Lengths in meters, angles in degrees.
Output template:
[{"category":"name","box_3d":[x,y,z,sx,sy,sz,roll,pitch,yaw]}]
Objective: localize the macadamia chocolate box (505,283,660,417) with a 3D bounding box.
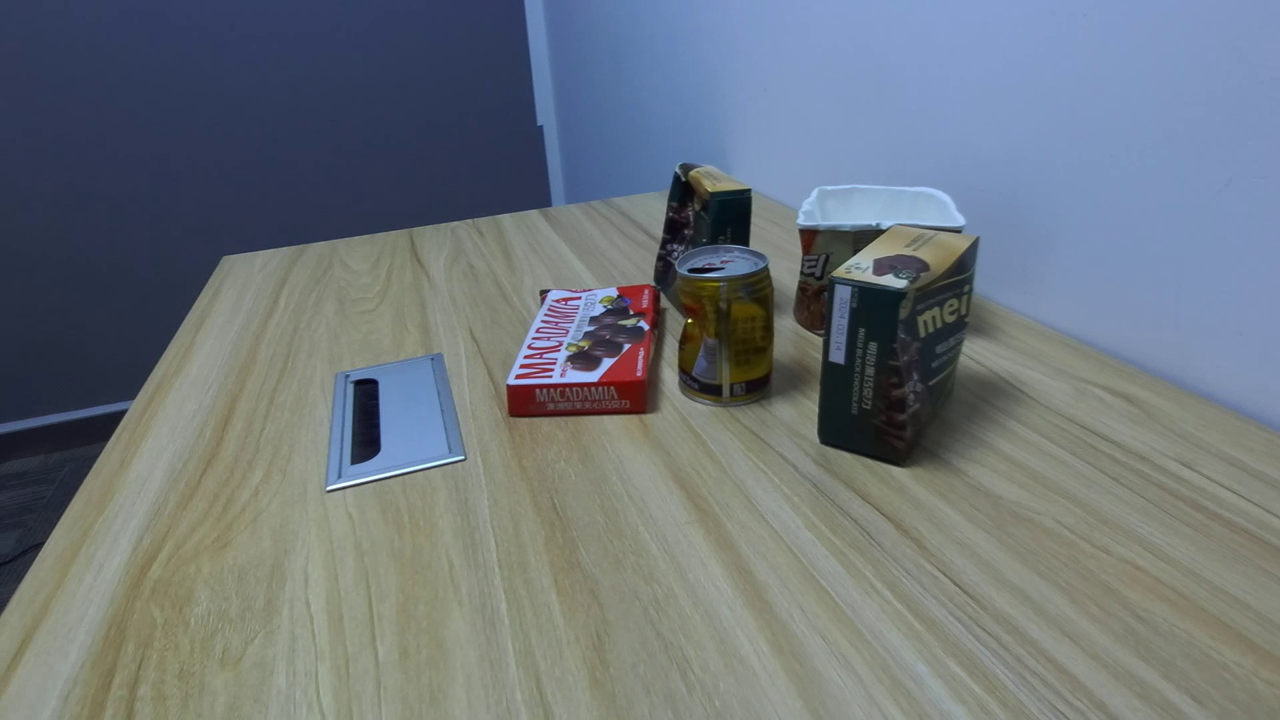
[{"category":"macadamia chocolate box","box_3d":[-0.037,-0.015,0.546,0.106,0.028,0.183,-2,27,4]}]

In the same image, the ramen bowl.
[{"category":"ramen bowl","box_3d":[0.178,-0.081,0.563,0.113,0.098,0.133,-2,27,7]}]

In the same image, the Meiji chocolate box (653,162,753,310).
[{"category":"Meiji chocolate box","box_3d":[0.054,-0.102,0.605,0.052,0.117,0.117,-3,27,-16]}]

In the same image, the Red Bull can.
[{"category":"Red Bull can","box_3d":[0.056,-0.024,0.474,0.072,0.092,0.072,-3,28,2]}]

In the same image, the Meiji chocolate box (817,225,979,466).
[{"category":"Meiji chocolate box","box_3d":[0.156,-0.012,0.421,0.058,0.111,0.113,16,32,33]}]
